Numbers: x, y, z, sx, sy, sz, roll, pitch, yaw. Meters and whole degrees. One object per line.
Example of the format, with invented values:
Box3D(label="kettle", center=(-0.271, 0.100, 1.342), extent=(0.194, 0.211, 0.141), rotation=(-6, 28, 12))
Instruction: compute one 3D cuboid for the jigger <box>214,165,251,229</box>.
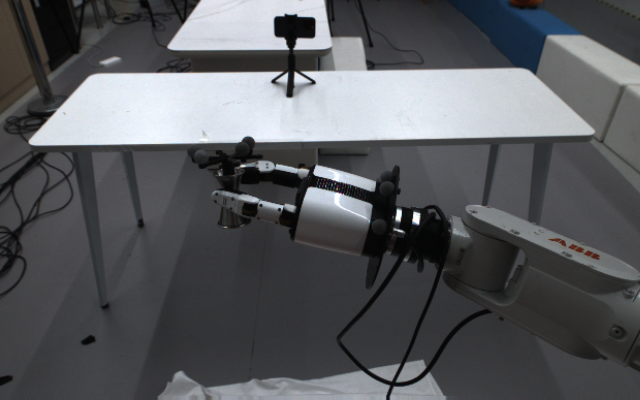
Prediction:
Box3D(label="jigger", center=(-0.111, -0.002, 0.611), extent=(0.043, 0.071, 0.043), rotation=(-2, 19, 1))
